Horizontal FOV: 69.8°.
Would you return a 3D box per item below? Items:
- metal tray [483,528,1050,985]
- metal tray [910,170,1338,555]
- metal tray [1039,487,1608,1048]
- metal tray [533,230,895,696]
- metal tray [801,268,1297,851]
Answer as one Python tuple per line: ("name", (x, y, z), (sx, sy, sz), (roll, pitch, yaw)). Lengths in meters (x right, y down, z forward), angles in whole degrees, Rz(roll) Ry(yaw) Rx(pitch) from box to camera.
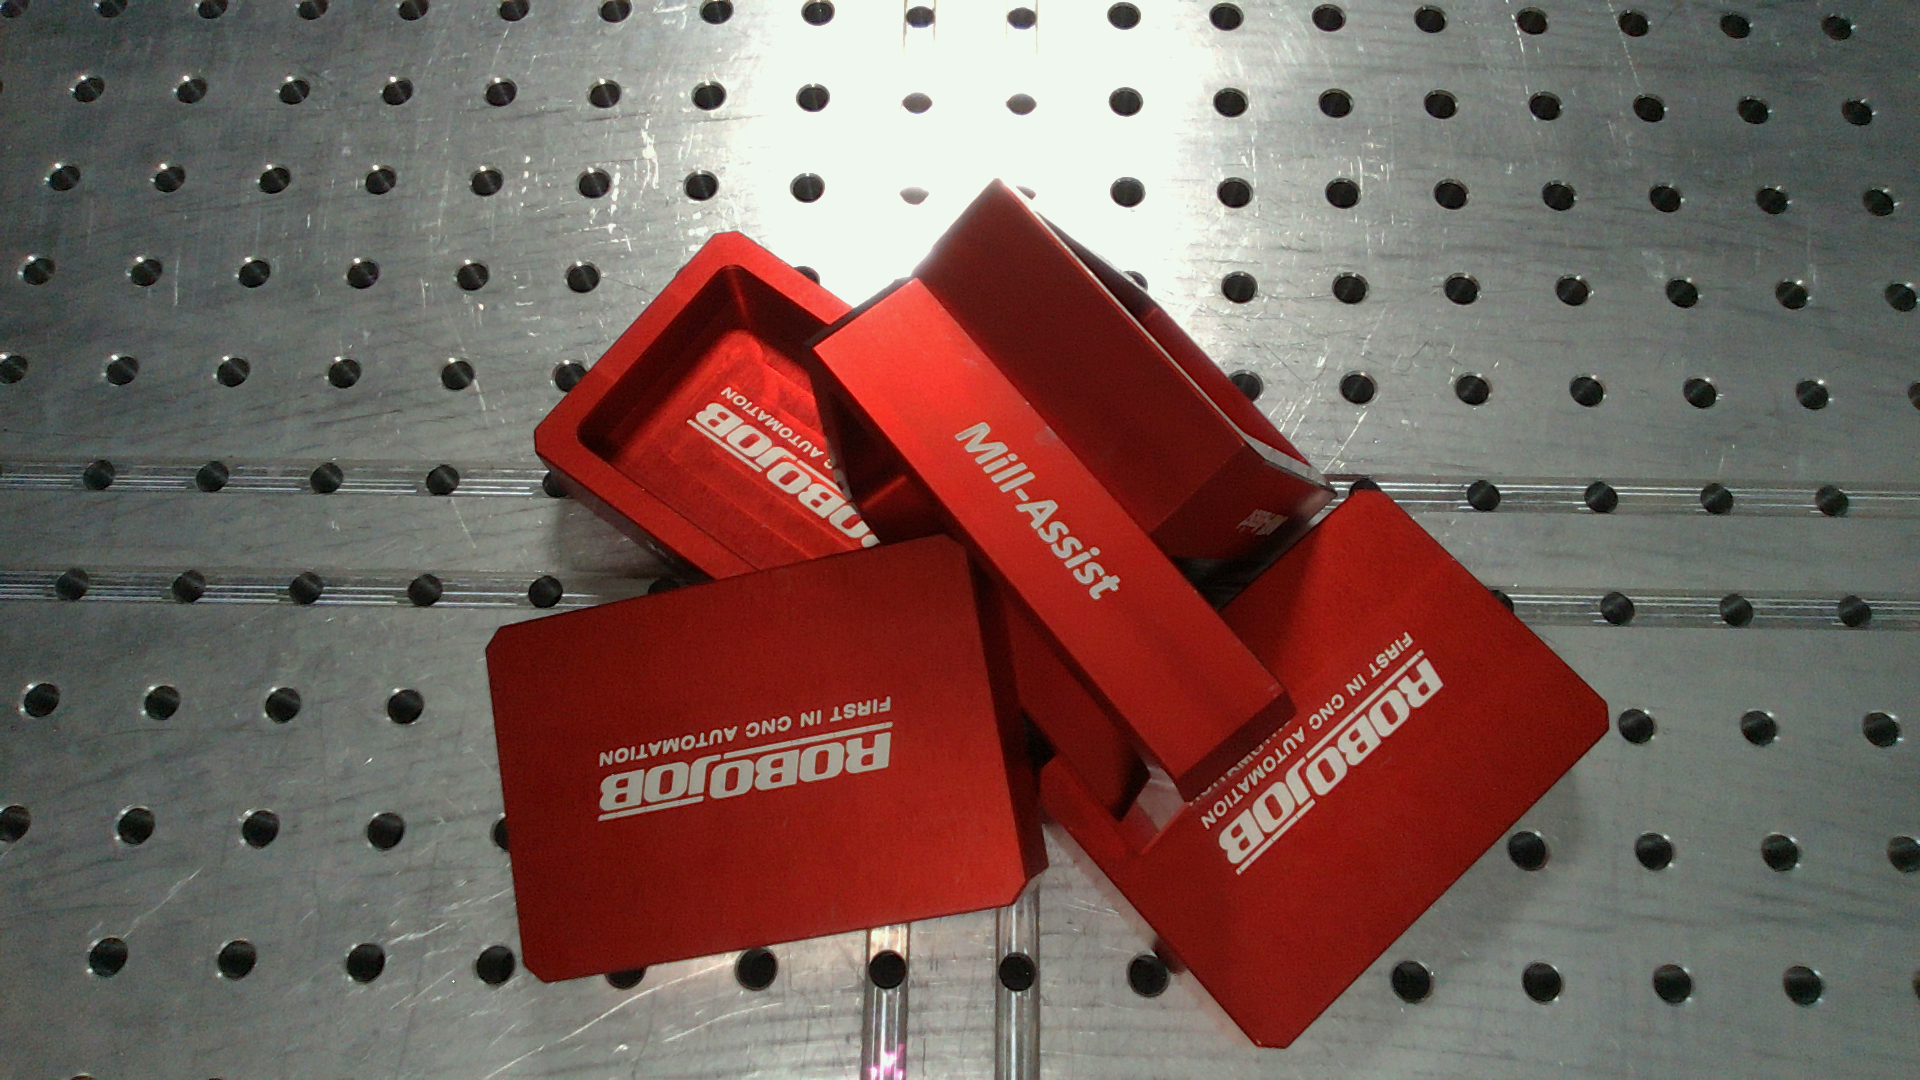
("metal tray", (-0.050, 0.055, 0.349), (0.130, 0.030, 0.090), (-12, 80, 11))
("metal tray", (0.049, -0.039, 0.356), (0.030, 0.130, 0.090), (-45, 74, 15))
("metal tray", (0.095, 0.059, 0.372), (0.130, 0.030, 0.090), (-39, 75, -13))
("metal tray", (-0.045, -0.021, 0.402), (0.130, 0.030, 0.090), (34, 73, 12))
("metal tray", (0.016, 0.009, 0.327), (0.030, 0.090, 0.130), (-37, 74, -12))
